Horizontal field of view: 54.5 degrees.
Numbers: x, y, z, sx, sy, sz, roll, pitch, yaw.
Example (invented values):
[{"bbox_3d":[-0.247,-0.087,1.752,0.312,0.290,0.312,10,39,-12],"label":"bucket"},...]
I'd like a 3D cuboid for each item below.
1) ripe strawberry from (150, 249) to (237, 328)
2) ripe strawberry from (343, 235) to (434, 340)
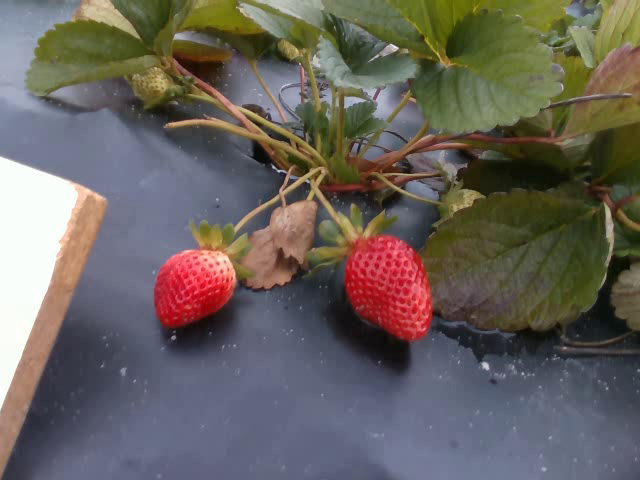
[{"bbox_3d":[-0.051,0.017,0.242,0.036,0.041,0.028,16,-27,14],"label":"ripe strawberry"},{"bbox_3d":[0.029,0.018,0.253,0.044,0.059,0.042,-31,-32,7],"label":"ripe strawberry"}]
